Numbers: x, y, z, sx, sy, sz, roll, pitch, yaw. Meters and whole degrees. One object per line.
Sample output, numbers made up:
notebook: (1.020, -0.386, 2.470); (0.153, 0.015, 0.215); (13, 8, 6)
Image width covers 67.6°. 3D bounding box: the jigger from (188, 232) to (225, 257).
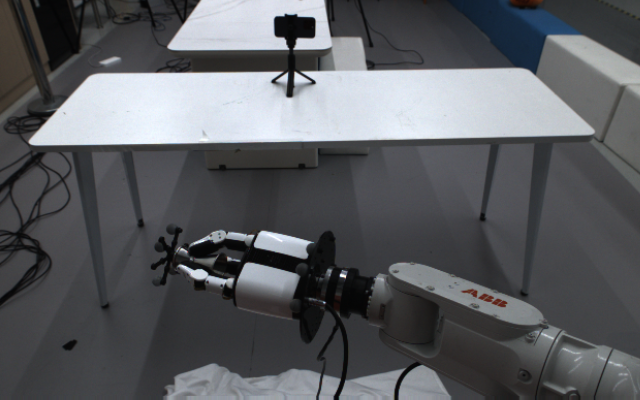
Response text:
jigger: (-0.173, 0.091, 0.720); (0.071, 0.043, 0.043); (10, 35, 16)
